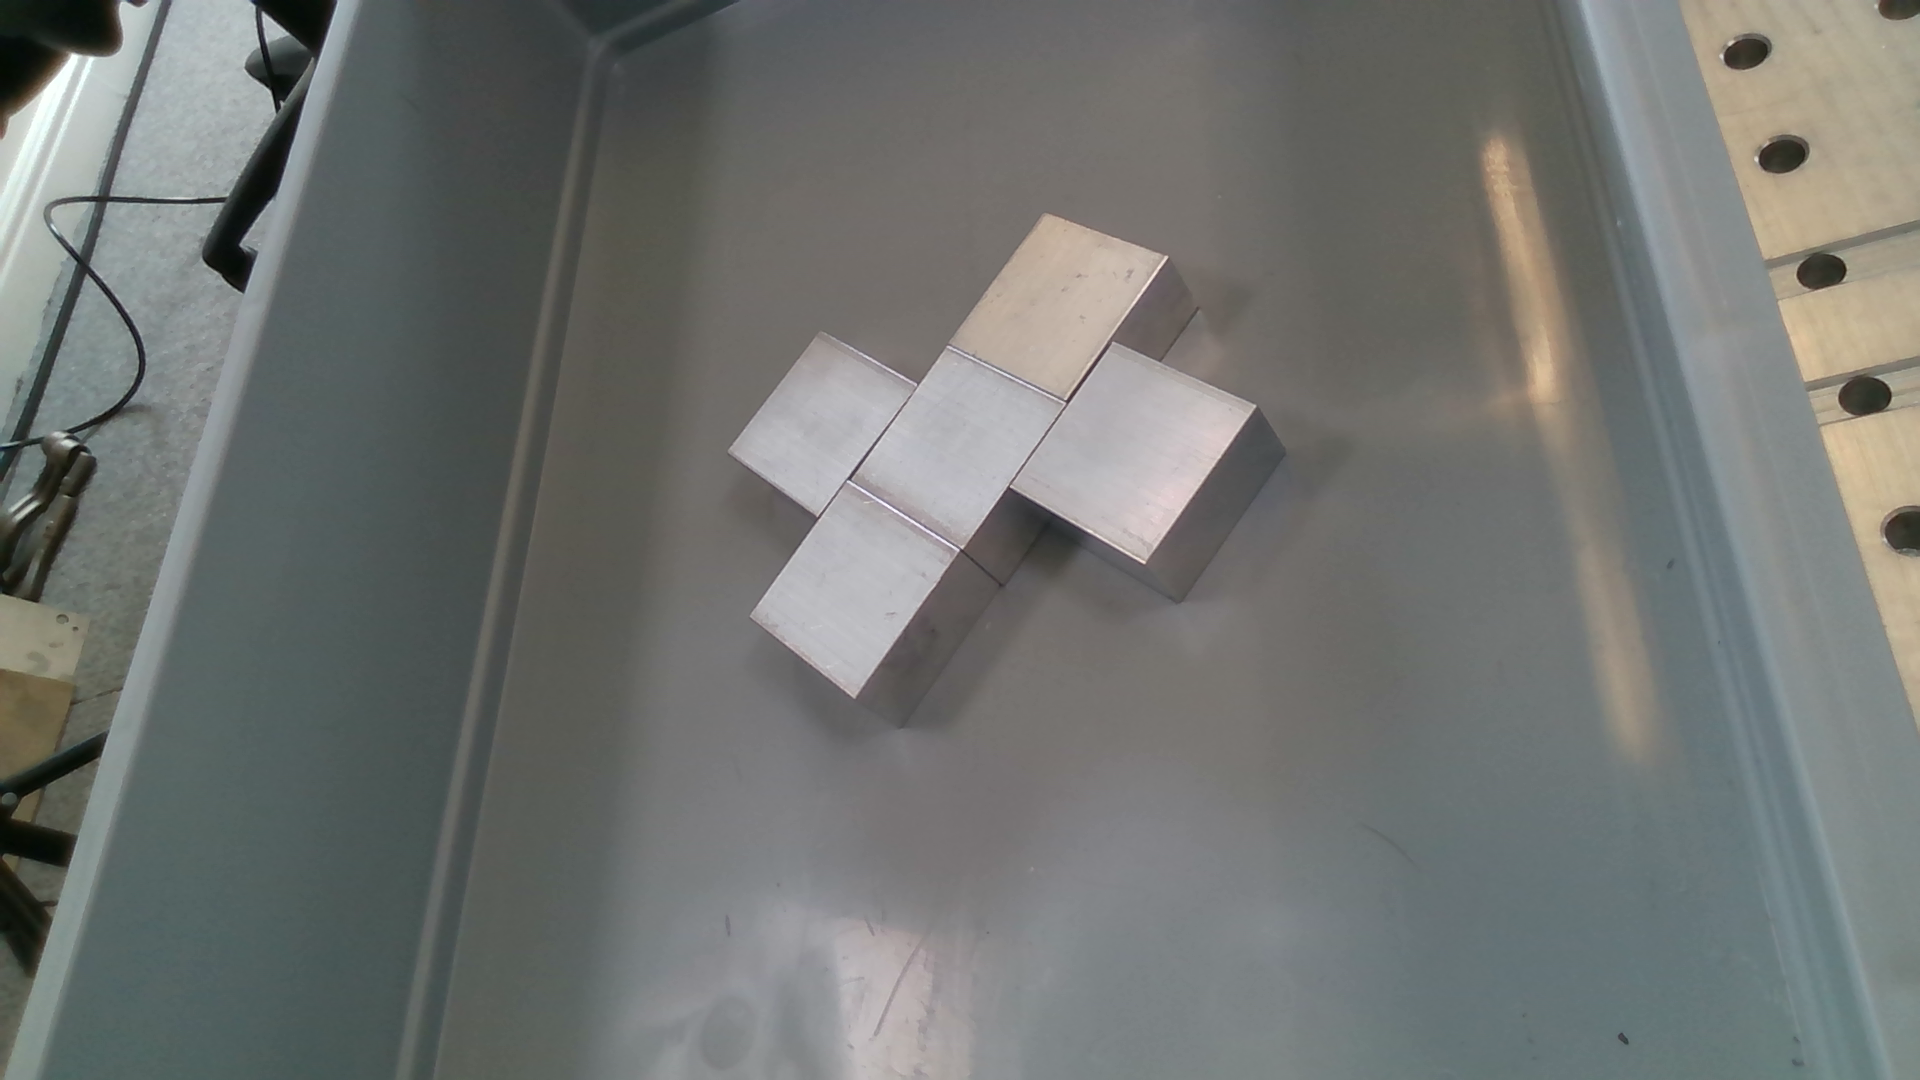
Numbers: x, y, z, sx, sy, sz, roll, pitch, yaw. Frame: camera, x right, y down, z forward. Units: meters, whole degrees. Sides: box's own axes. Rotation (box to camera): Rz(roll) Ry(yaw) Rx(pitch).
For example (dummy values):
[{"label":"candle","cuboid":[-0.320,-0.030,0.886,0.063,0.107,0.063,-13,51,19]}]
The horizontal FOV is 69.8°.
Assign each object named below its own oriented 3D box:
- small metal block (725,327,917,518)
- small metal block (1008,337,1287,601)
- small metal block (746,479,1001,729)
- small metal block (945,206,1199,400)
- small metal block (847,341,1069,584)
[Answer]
[{"label":"small metal block","cuboid":[-0.038,-0.032,0.432,0.050,0.025,0.050,34,86,40]},{"label":"small metal block","cuboid":[0.050,-0.020,0.370,0.050,0.025,0.050,33,85,38]},{"label":"small metal block","cuboid":[-0.025,0.018,0.397,0.050,0.025,0.050,32,85,39]},{"label":"small metal block","cuboid":[0.033,-0.064,0.405,0.050,0.025,0.050,32,85,39]},{"label":"small metal block","cuboid":[0.004,-0.023,0.400,0.050,0.025,0.050,32,85,39]}]
